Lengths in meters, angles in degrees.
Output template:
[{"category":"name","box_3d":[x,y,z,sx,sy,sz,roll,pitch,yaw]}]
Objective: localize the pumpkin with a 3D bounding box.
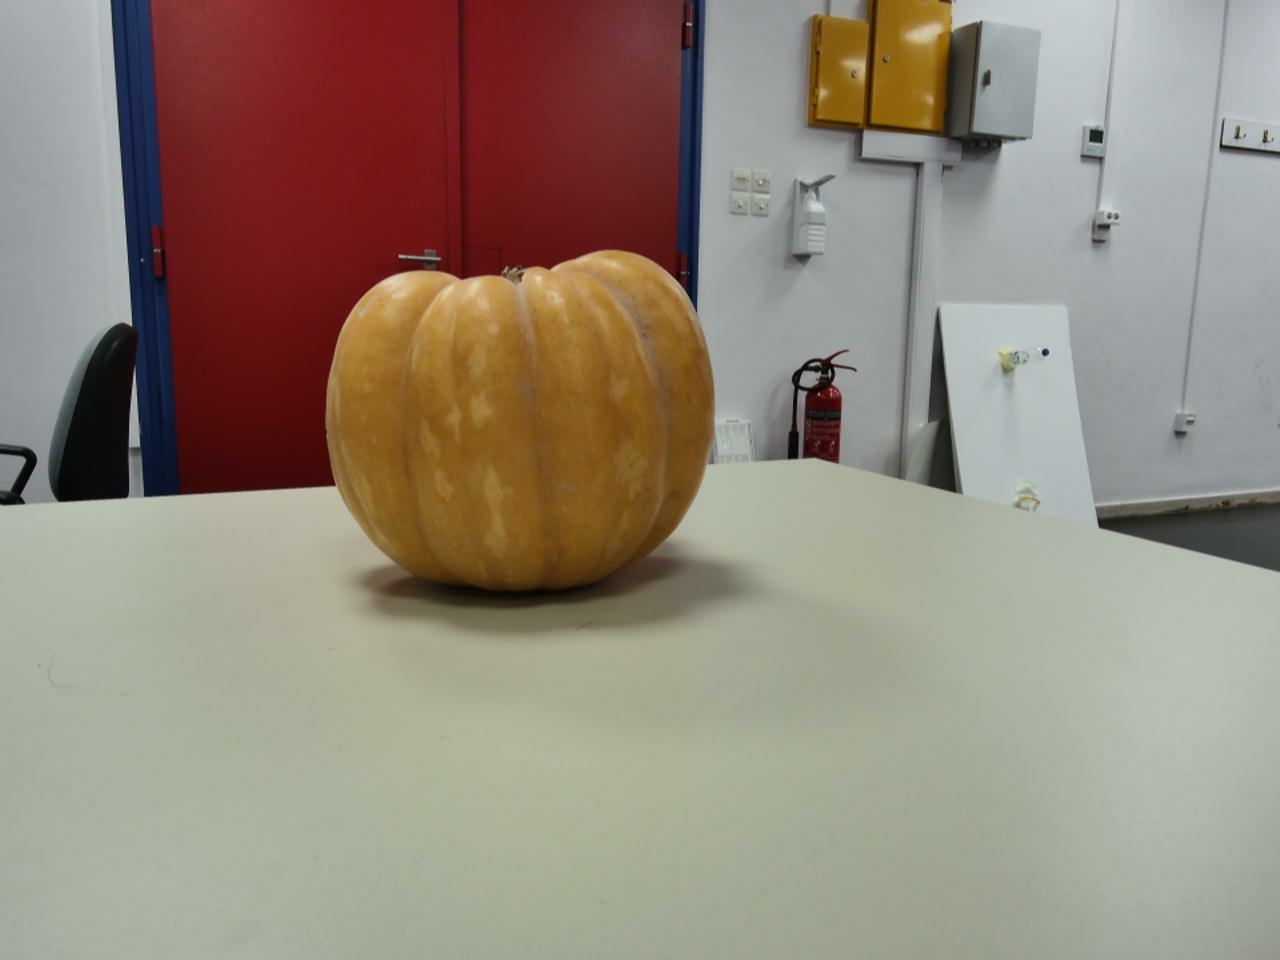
[{"category":"pumpkin","box_3d":[-0.065,-0.035,0.586,0.230,0.194,0.230,1,8,0]}]
